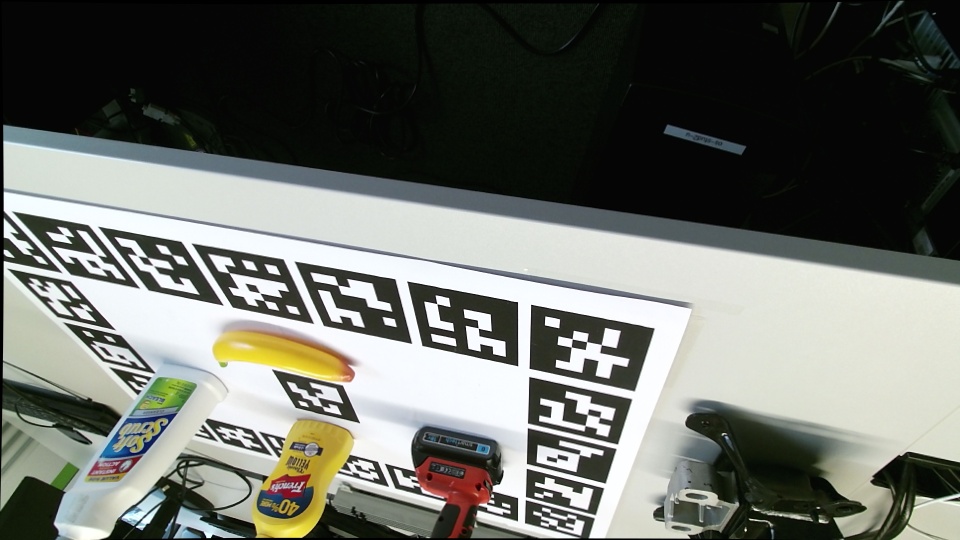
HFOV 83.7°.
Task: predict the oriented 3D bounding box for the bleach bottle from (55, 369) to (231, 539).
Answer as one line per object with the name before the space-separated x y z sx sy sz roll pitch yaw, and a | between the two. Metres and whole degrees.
bleach bottle | -0.451 0.256 0.713 0.103 0.250 0.068 15 137 8

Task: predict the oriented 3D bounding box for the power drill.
power drill | -0.084 0.325 0.638 0.185 0.186 0.057 2 134 15

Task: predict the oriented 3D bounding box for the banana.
banana | -0.245 0.113 0.629 0.198 0.038 0.074 3 133 15

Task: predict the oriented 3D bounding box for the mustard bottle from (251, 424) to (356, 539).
mustard bottle | -0.255 0.309 0.736 0.096 0.191 0.058 4 134 20
